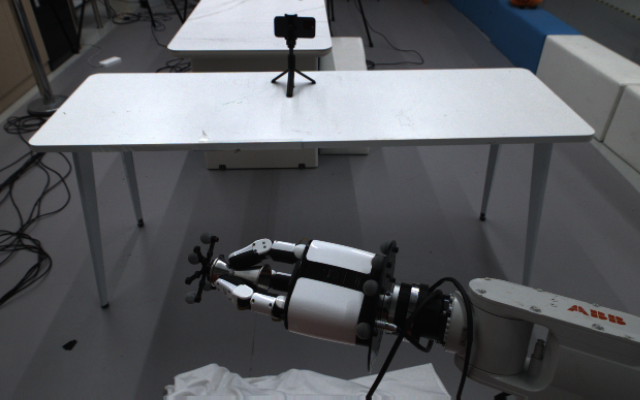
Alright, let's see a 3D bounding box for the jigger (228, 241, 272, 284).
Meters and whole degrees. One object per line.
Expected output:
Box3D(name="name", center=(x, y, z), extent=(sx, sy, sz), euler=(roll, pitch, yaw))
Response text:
Box3D(name="jigger", center=(-0.096, 0.095, 0.625), extent=(0.071, 0.043, 0.043), euler=(8, 35, 17))
